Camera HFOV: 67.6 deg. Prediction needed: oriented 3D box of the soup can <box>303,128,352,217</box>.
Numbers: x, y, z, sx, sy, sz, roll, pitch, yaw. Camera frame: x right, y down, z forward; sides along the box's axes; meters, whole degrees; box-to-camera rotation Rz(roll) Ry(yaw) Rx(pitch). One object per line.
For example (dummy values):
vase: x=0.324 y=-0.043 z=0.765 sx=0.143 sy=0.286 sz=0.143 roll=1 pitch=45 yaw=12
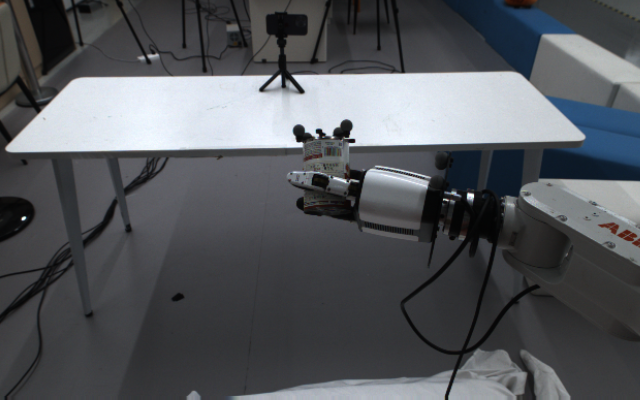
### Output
soup can: x=0.010 y=-0.032 z=0.682 sx=0.067 sy=0.101 sz=0.067 roll=-1 pitch=-9 yaw=0
